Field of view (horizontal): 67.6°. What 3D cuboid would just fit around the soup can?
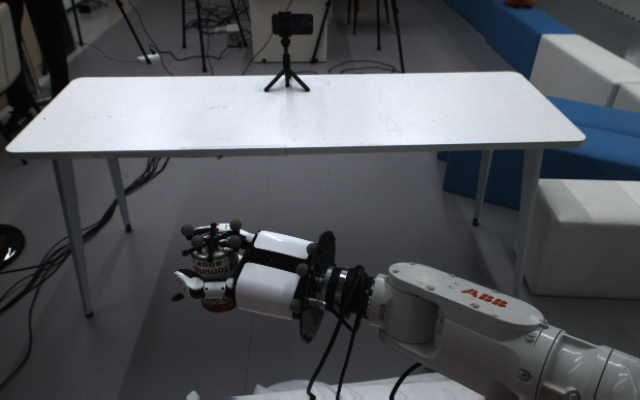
[{"bbox_3d":[-0.149,0.106,0.711,0.067,0.101,0.067,-2,32,2],"label":"soup can"}]
